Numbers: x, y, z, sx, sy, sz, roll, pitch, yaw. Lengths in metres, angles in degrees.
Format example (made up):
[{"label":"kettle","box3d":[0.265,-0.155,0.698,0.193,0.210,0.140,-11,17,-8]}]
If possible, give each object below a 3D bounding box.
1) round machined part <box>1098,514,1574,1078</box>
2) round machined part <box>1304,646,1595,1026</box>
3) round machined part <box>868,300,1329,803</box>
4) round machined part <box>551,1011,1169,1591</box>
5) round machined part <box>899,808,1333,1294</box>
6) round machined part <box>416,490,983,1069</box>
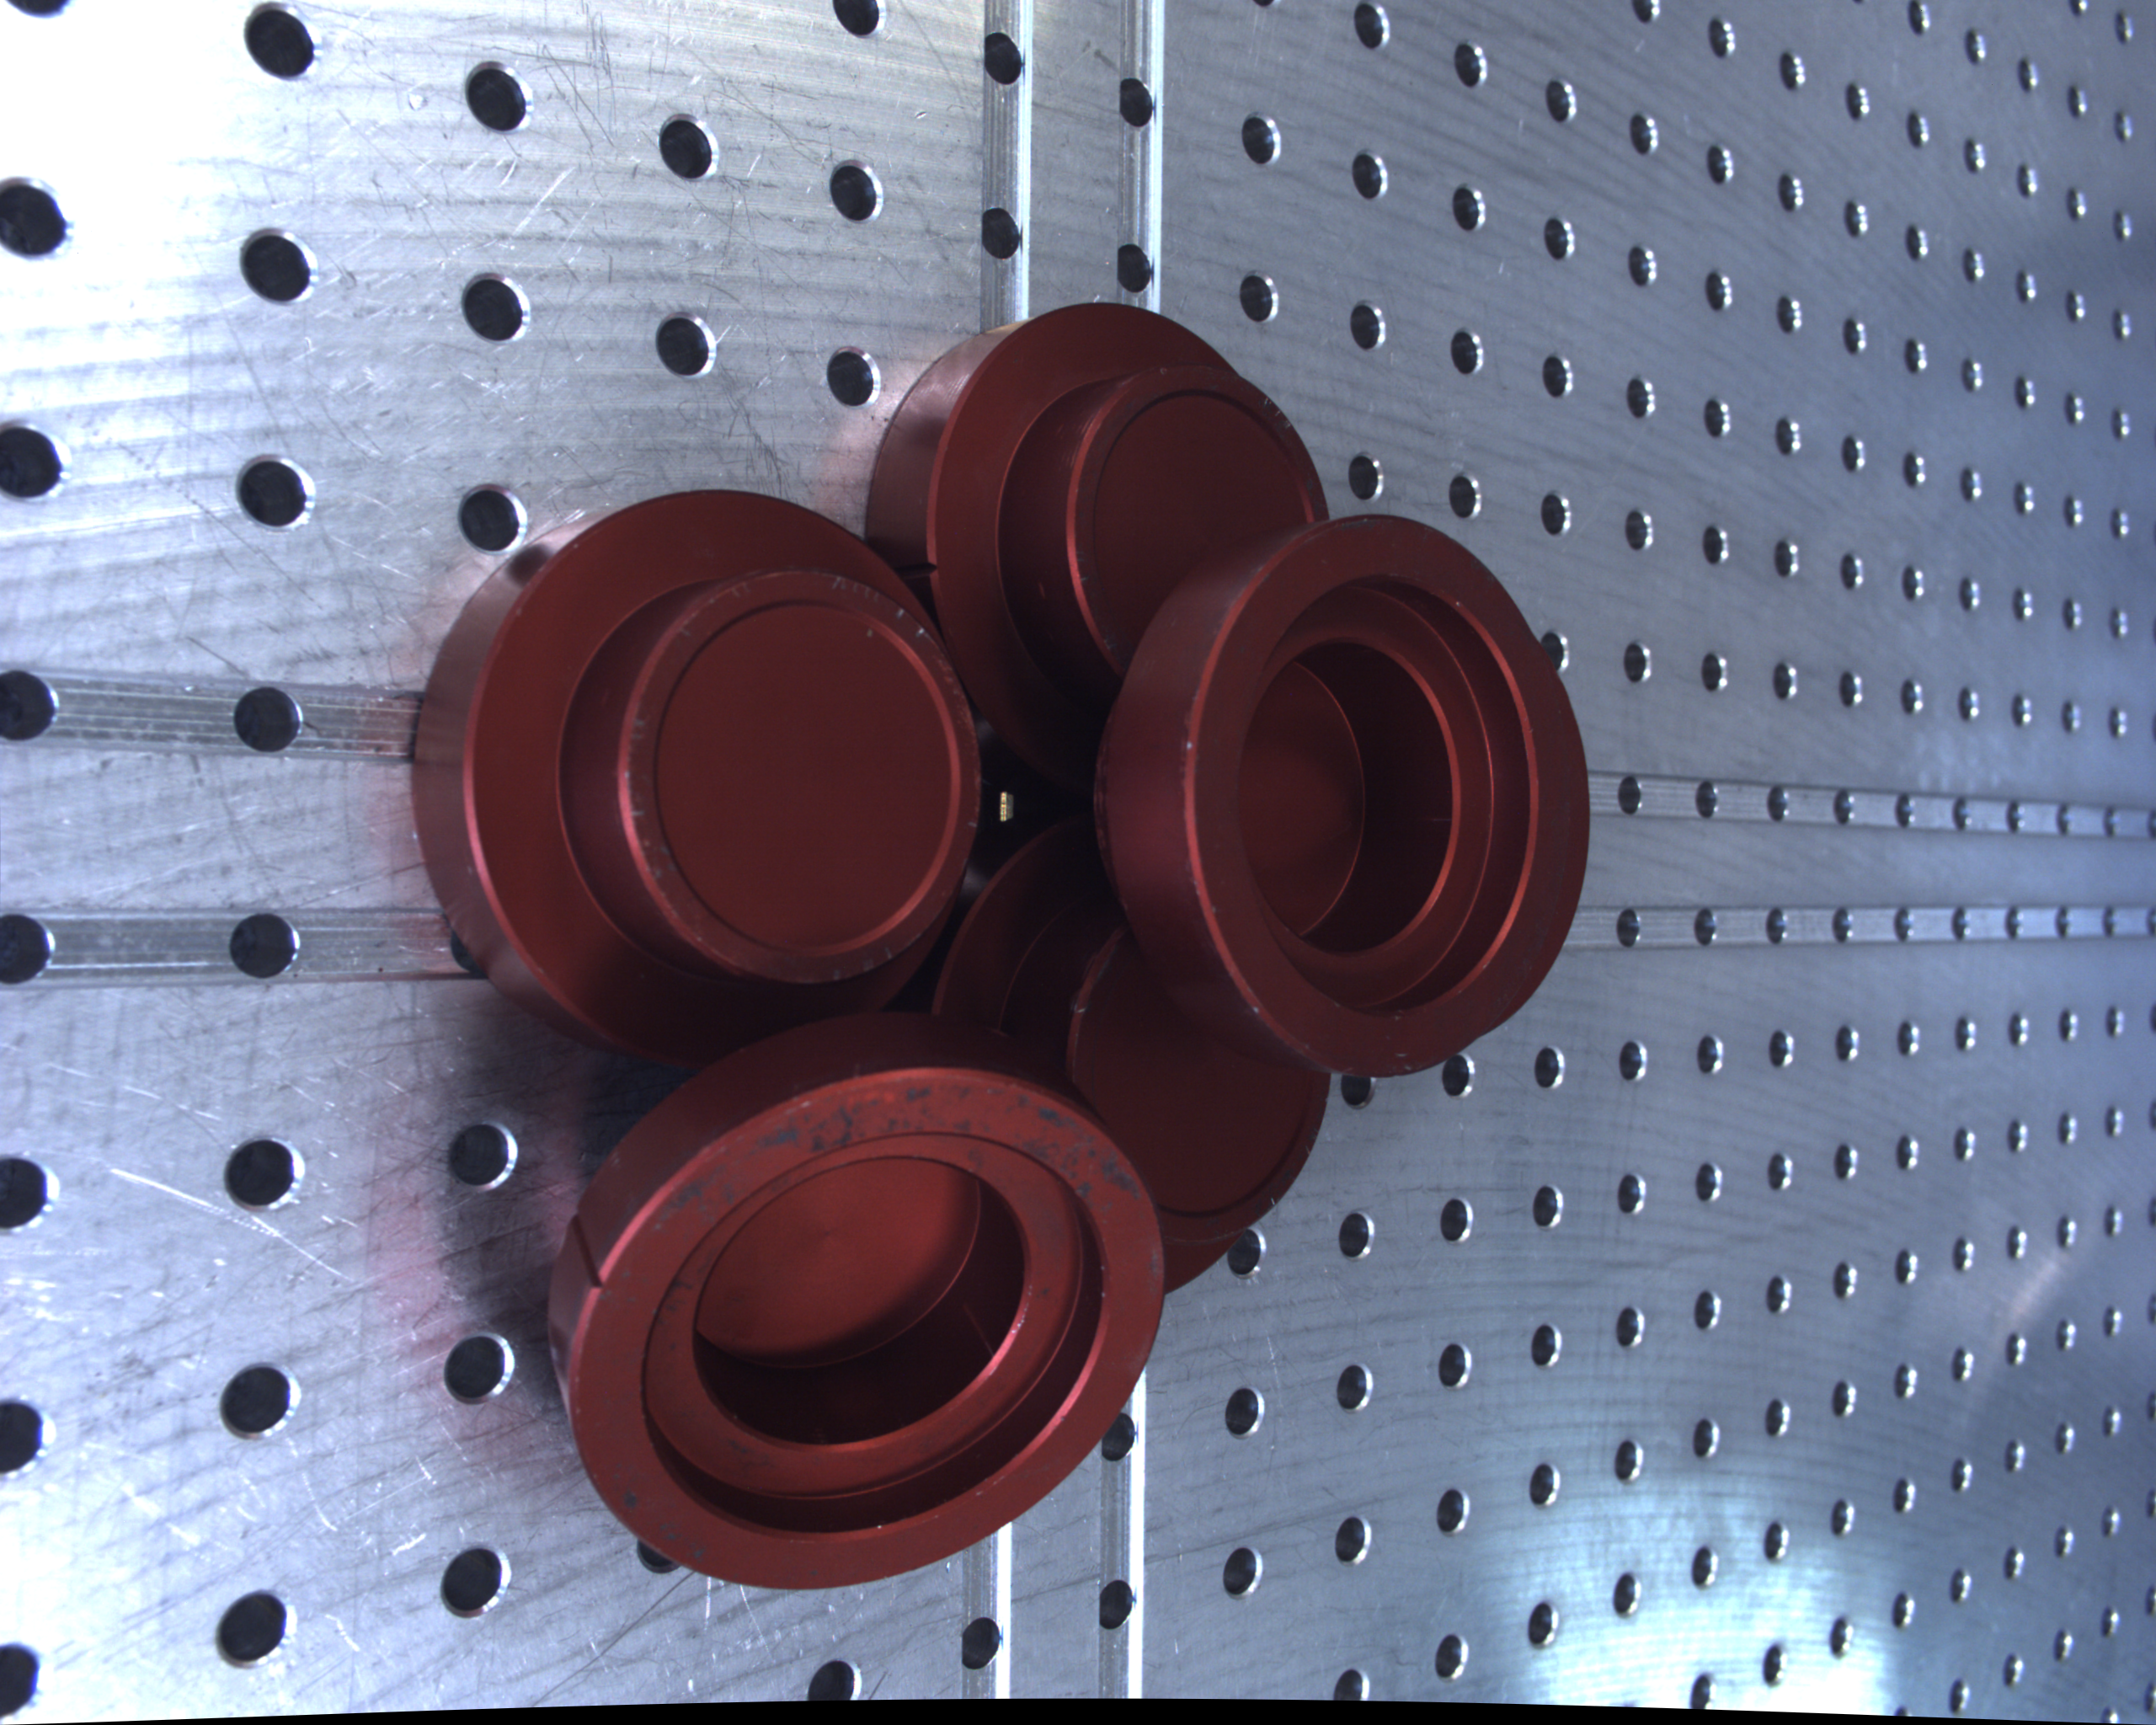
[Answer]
[{"label":"round machined part","box3d":[0.043,-0.012,0.377,0.099,0.042,0.097,0,90,-40]},{"label":"round machined part","box3d":[0.065,-0.011,0.450,0.099,0.042,0.097,0,90,-40]},{"label":"round machined part","box3d":[0.012,-0.060,0.407,0.099,0.042,0.097,0,90,-40]},{"label":"round machined part","box3d":[-0.038,0.068,0.348,0.099,0.042,0.097,-10,116,-21]},{"label":"round machined part","box3d":[0.012,0.038,0.406,0.099,0.042,0.097,0,90,-40]},{"label":"round machined part","box3d":[-0.055,-0.014,0.351,0.099,0.042,0.097,0,90,-40]}]
